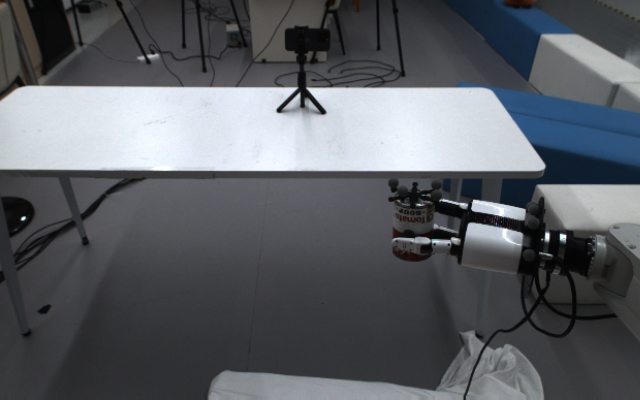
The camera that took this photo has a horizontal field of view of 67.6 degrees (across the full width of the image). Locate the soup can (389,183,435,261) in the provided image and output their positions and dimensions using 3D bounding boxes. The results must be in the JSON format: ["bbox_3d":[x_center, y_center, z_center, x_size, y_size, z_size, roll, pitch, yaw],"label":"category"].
[{"bbox_3d":[0.156,0.039,0.799,0.067,0.101,0.067,-3,27,2],"label":"soup can"}]
